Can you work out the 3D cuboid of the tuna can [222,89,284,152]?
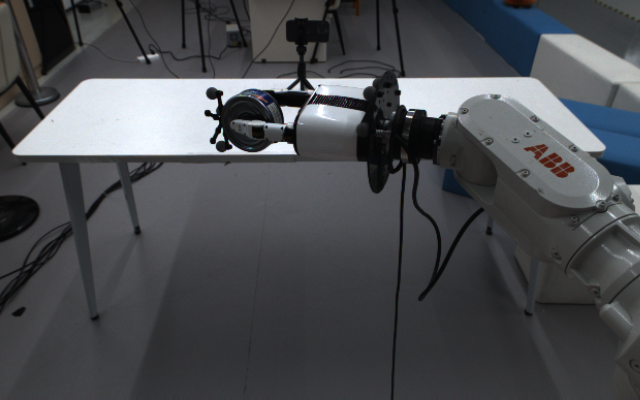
[{"bbox_3d":[-0.095,-0.114,0.692,0.085,0.085,0.034,12,28,14],"label":"tuna can"}]
